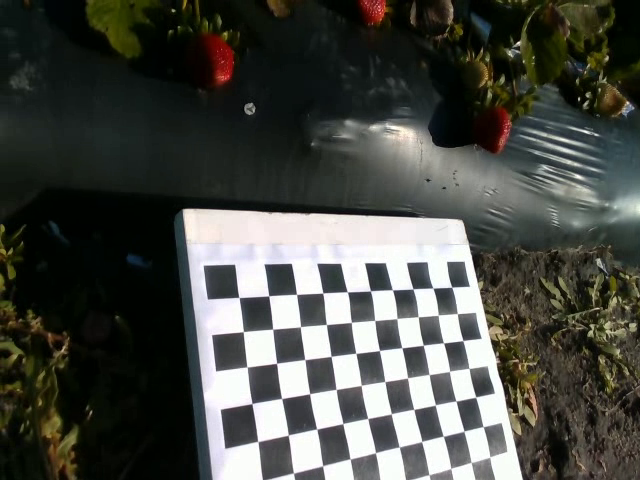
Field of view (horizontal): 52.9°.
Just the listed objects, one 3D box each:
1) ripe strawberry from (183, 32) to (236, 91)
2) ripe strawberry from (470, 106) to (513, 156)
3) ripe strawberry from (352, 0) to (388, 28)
[{"bbox_3d":[-0.079,-0.130,0.473,0.045,0.042,0.055,12,35,-36],"label":"ripe strawberry"},{"bbox_3d":[0.158,-0.098,0.589,0.042,0.058,0.042,27,-42,-30],"label":"ripe strawberry"},{"bbox_3d":[0.044,-0.218,0.587,0.047,0.035,0.036,4,-20,-44],"label":"ripe strawberry"}]
